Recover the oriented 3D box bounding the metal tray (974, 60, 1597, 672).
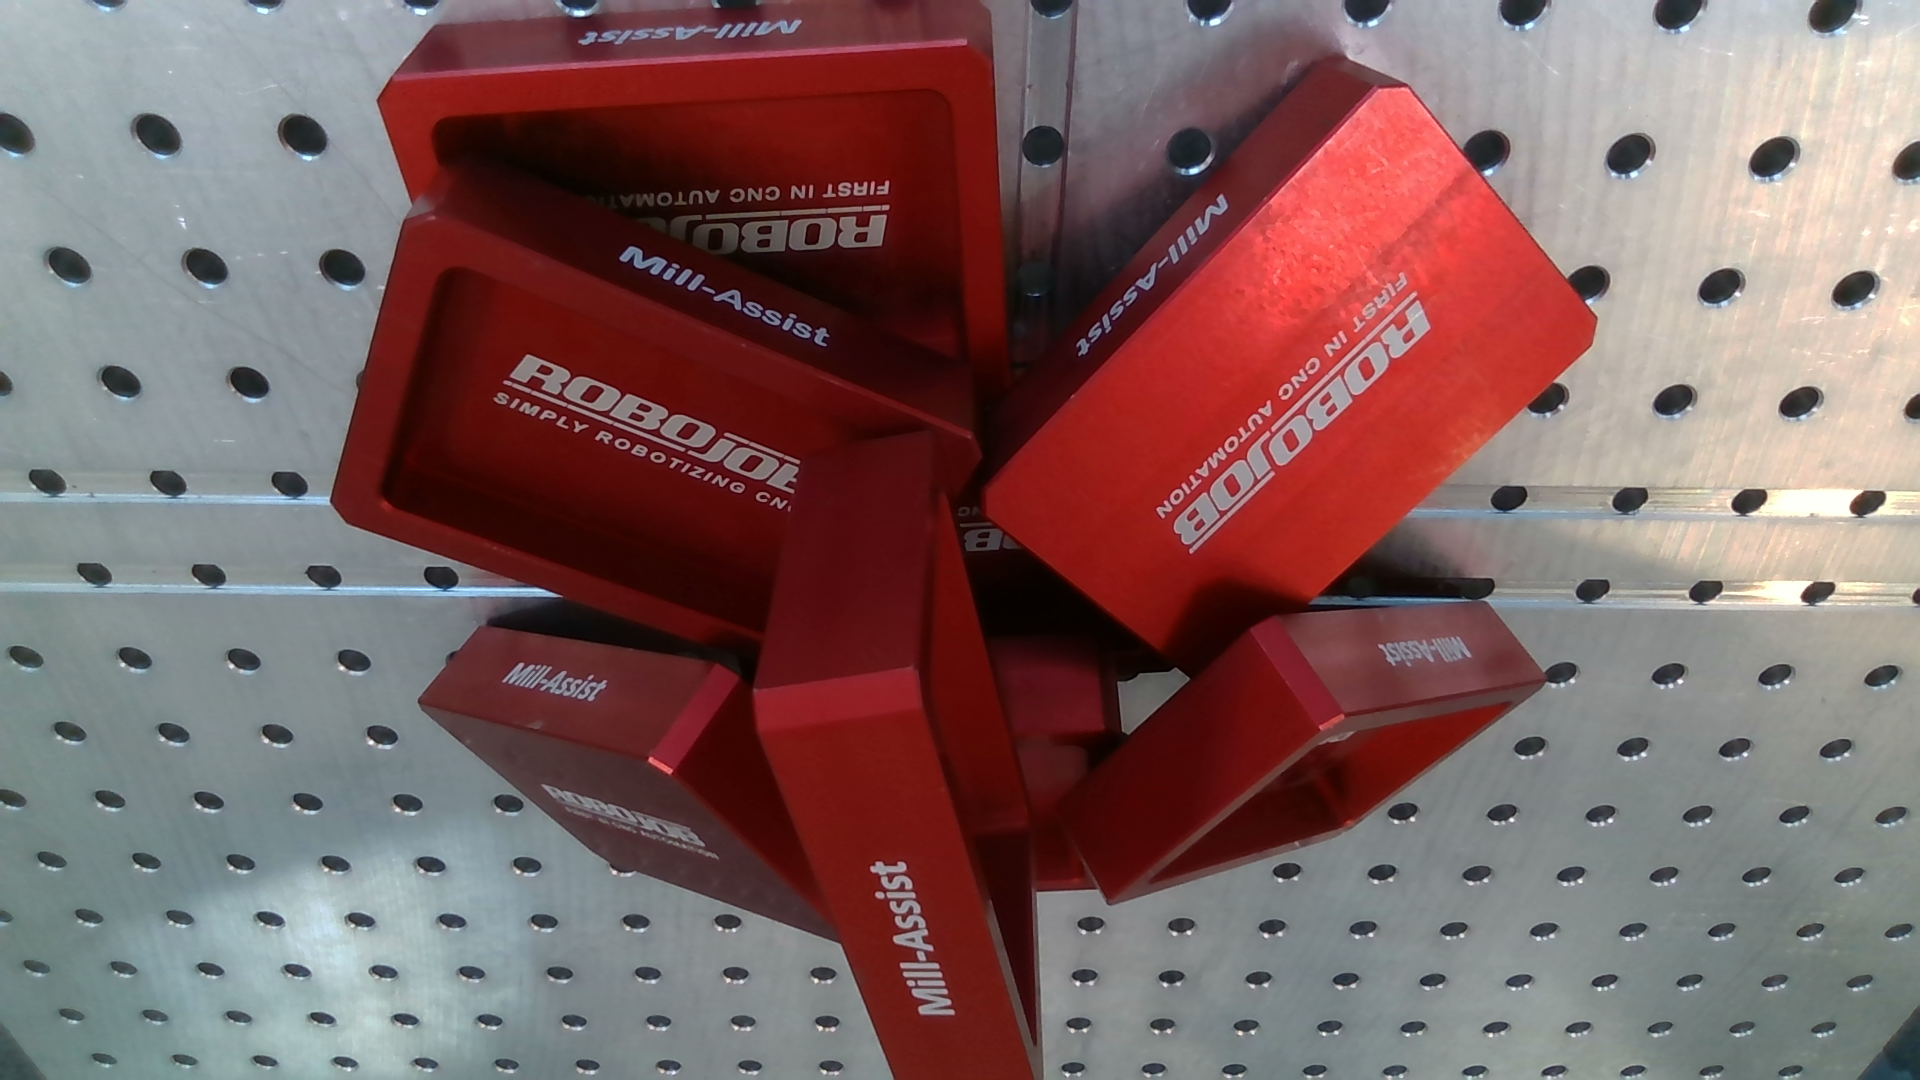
[{"bbox_3d":[0.076,-0.036,0.335,0.090,0.030,0.130,37,105,-27],"label":"metal tray"}]

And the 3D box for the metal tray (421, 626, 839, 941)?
[{"bbox_3d":[-0.089,0.069,0.403,0.130,0.030,0.090,3,140,43],"label":"metal tray"}]

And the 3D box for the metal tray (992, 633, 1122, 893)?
[{"bbox_3d":[0.003,0.075,0.427,0.090,0.030,0.130,-3,147,3],"label":"metal tray"}]

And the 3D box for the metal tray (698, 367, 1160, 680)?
[{"bbox_3d":[-0.002,-0.001,0.386,0.130,0.030,0.090,-5,132,1],"label":"metal tray"}]

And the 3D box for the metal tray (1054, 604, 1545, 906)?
[{"bbox_3d":[0.099,0.059,0.393,0.130,0.030,0.090,1,139,-46],"label":"metal tray"}]

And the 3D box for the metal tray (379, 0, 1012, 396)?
[{"bbox_3d":[-0.055,-0.075,0.325,0.130,0.030,0.090,-4,131,2],"label":"metal tray"}]

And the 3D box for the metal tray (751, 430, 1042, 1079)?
[{"bbox_3d":[-0.008,0.053,0.309,0.030,0.090,0.130,-9,125,8],"label":"metal tray"}]

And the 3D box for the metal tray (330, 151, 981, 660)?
[{"bbox_3d":[-0.071,-0.023,0.328,0.130,0.030,0.090,21,127,-17],"label":"metal tray"}]
